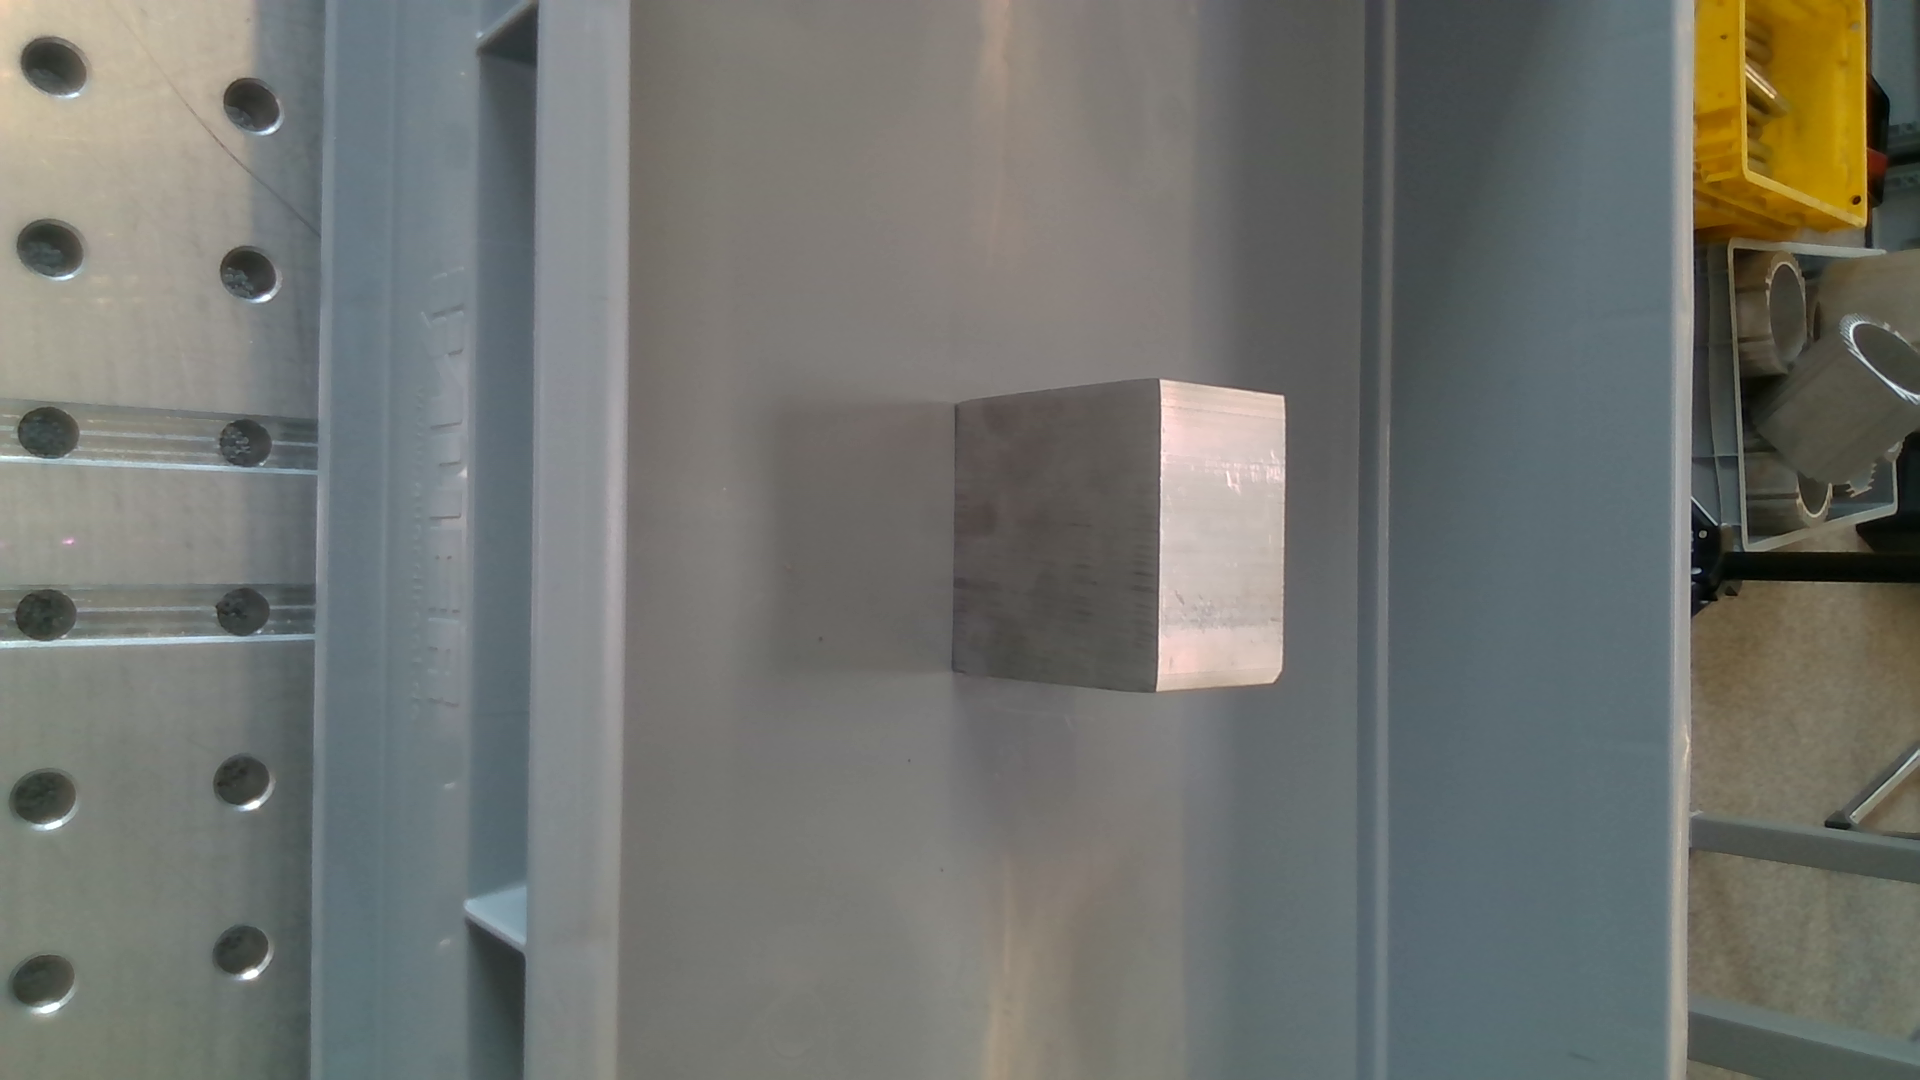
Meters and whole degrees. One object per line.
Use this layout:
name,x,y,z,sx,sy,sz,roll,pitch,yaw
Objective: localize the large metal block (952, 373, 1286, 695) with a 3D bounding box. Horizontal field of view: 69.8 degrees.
large metal block,0.043,-0.001,0.389,0.050,0.080,0.080,1,89,-40
